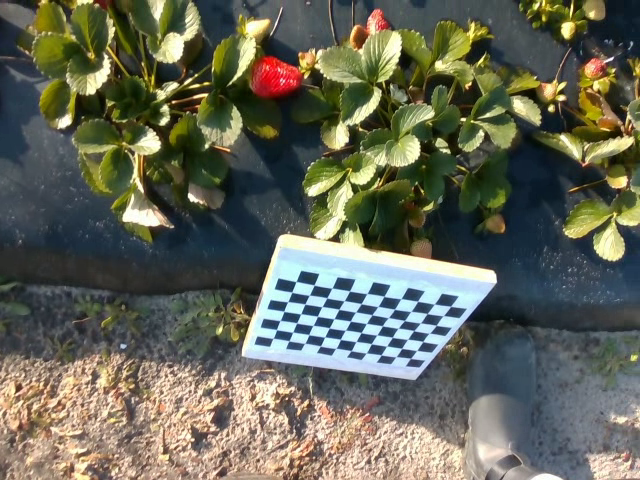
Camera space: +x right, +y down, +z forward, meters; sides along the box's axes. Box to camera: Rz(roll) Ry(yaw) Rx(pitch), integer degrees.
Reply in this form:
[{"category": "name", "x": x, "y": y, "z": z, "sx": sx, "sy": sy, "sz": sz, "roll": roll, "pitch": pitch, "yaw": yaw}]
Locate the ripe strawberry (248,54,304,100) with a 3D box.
[{"category": "ripe strawberry", "x": -0.050, "y": -0.190, "z": 0.746, "sx": 0.072, "sy": 0.055, "sz": 0.057, "roll": 2, "pitch": -38, "yaw": 12}]
